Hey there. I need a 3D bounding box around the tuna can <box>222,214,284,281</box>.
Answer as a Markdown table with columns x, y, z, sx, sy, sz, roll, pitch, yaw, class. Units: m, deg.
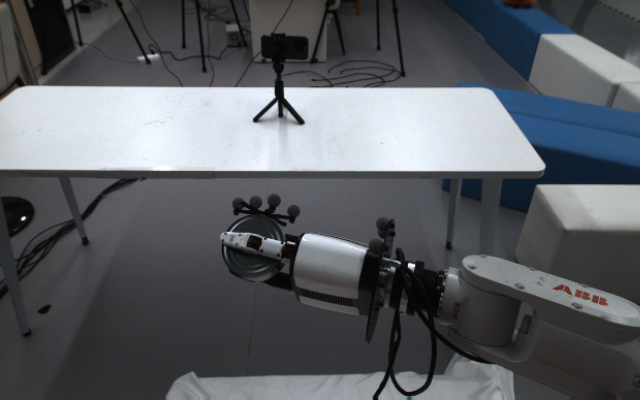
| x | y | z | sx | sy | sz | roll | pitch | yaw | class |
| --- | --- | --- | --- | --- | --- | --- | --- | --- | --- |
| -0.084 | 0.064 | 0.645 | 0.085 | 0.034 | 0.085 | -3 | 69 | 7 | tuna can |
